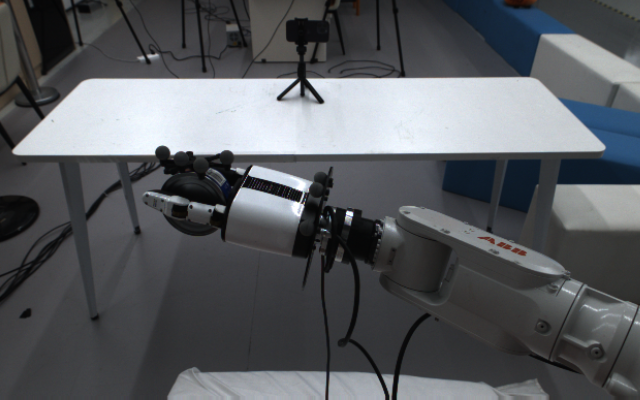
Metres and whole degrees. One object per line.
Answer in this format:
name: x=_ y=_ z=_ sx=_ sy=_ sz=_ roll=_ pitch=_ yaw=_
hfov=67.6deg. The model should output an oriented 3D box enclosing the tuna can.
tuna can: x=-0.151 y=0.001 z=0.605 sx=0.085 sy=0.085 sz=0.034 roll=6 pitch=22 yaw=5
